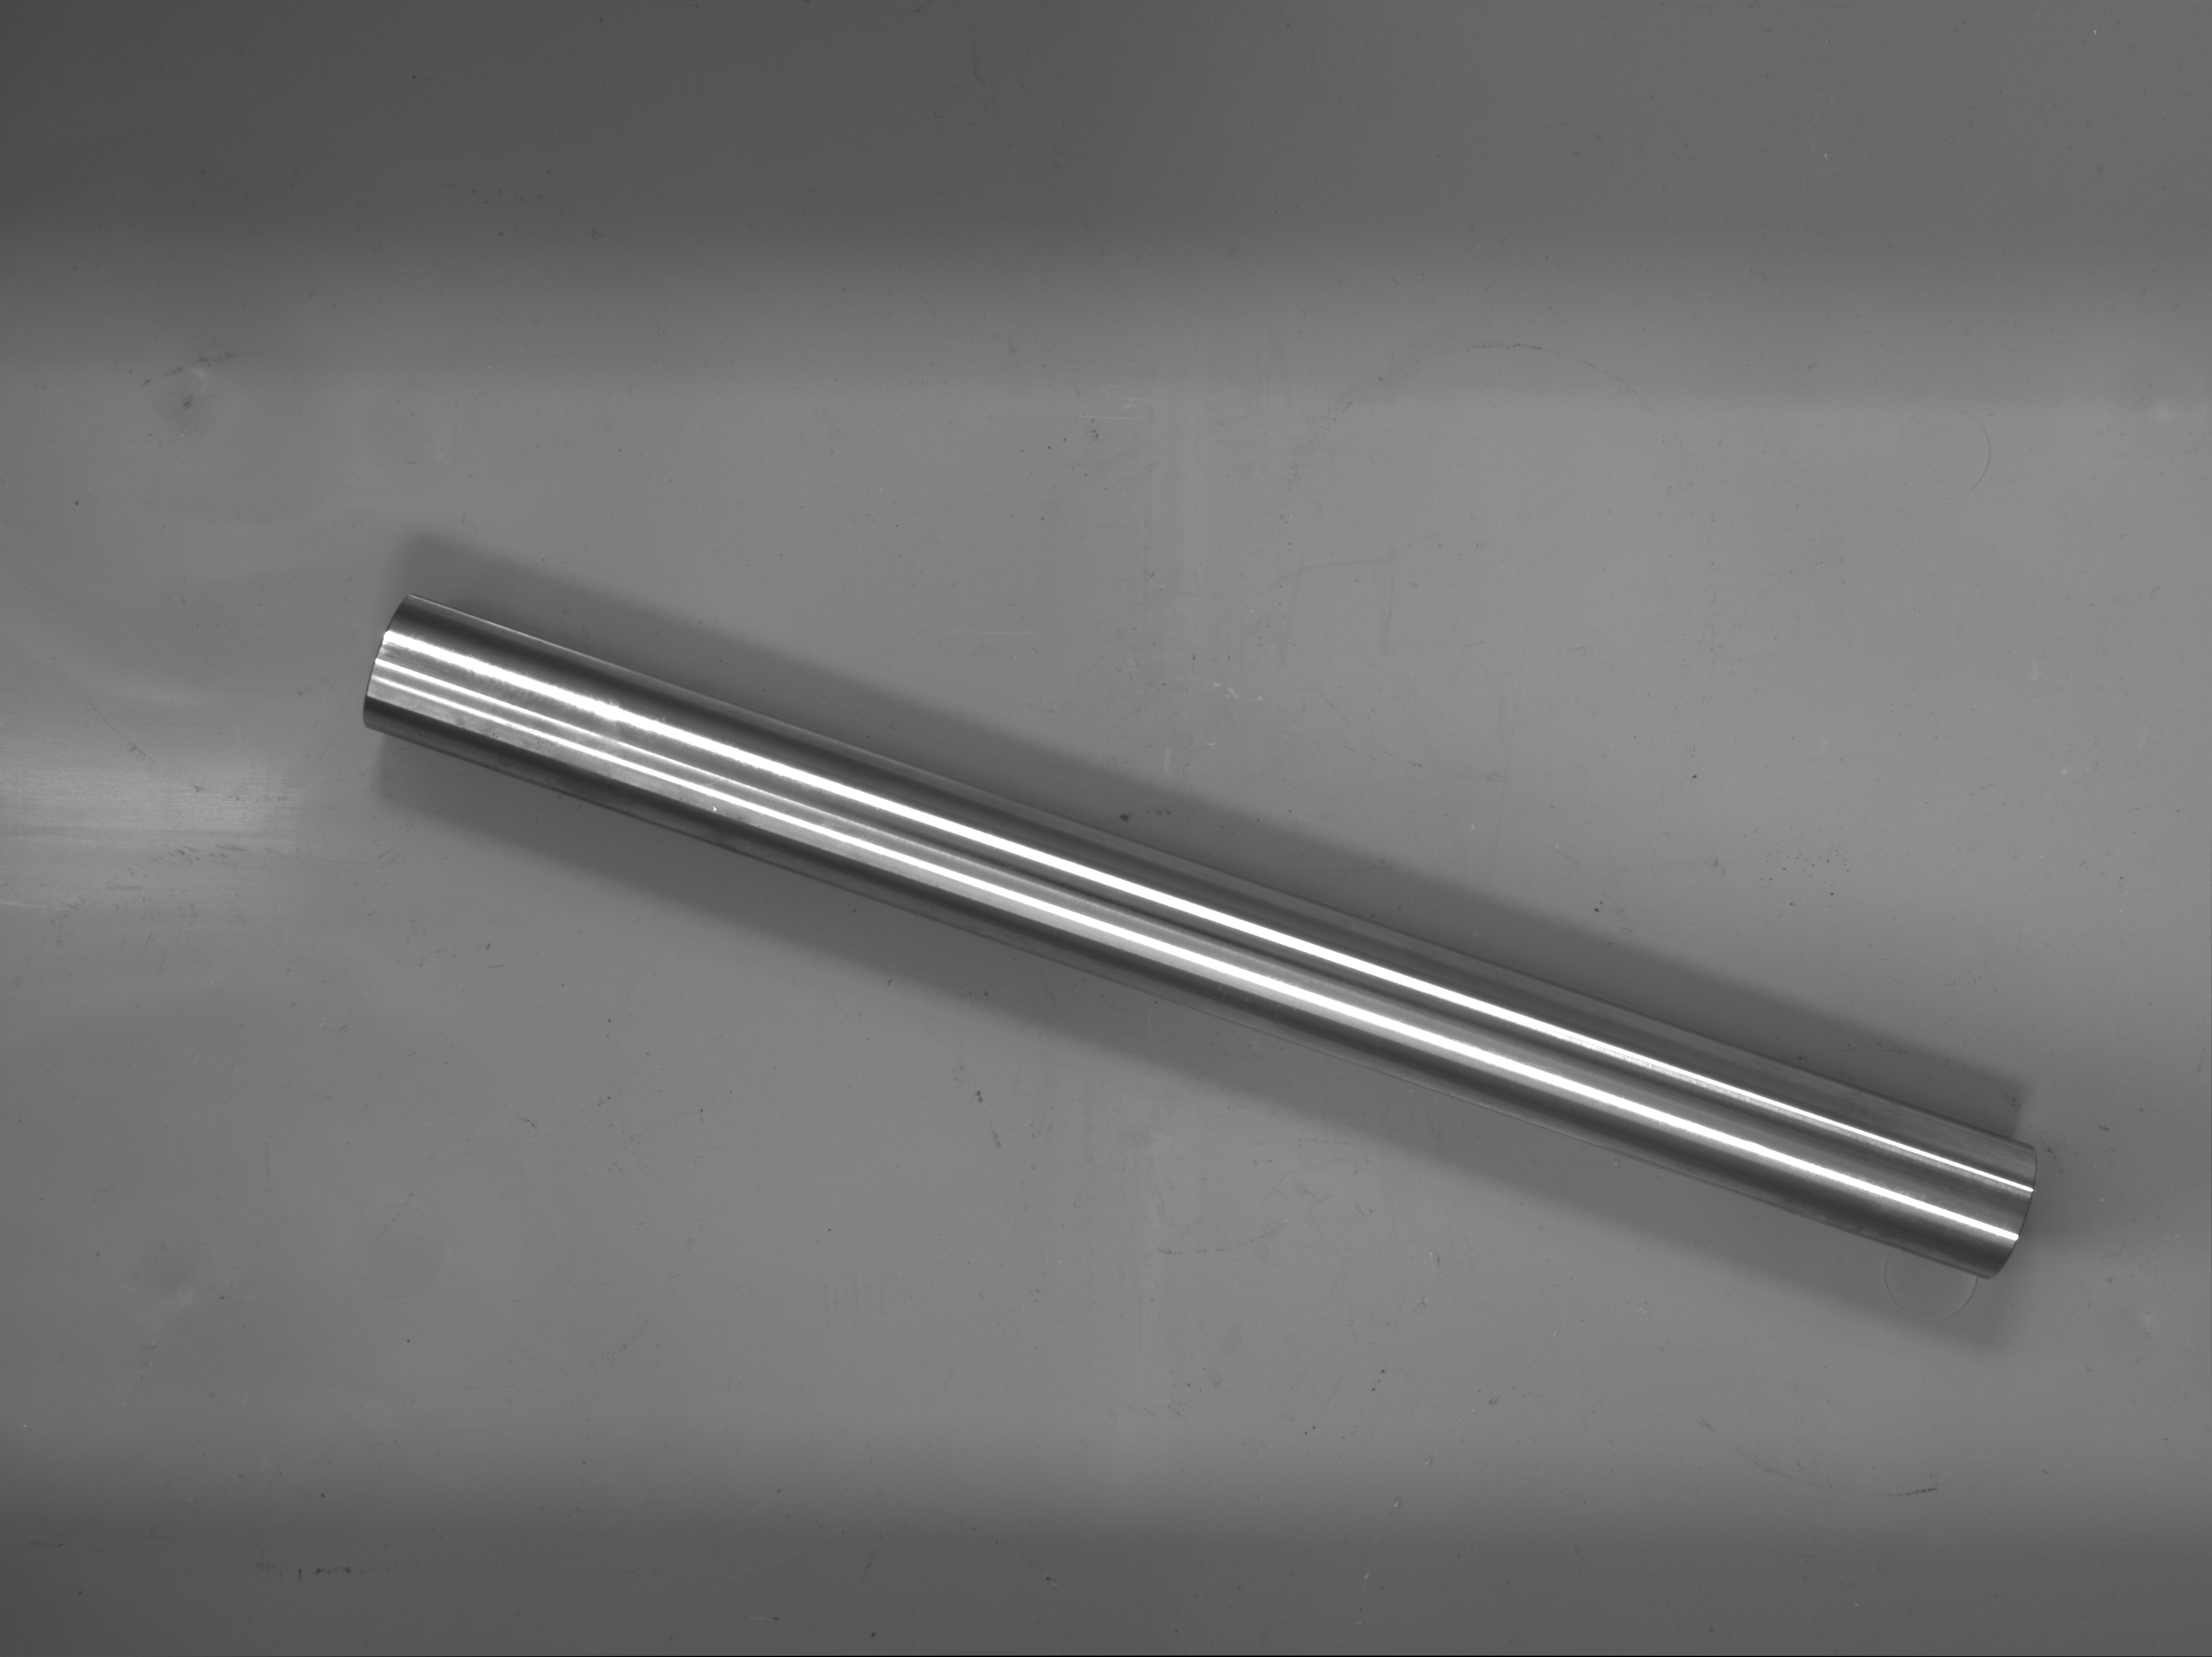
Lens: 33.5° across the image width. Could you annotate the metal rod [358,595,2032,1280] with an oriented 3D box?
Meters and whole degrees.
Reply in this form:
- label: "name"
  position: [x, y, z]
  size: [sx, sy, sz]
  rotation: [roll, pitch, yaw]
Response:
- label: "metal rod"
  position: [0.016, 0.019, 0.645]
  size: [0.300, 0.025, 0.025]
  rotation: [19, 90, 0]
